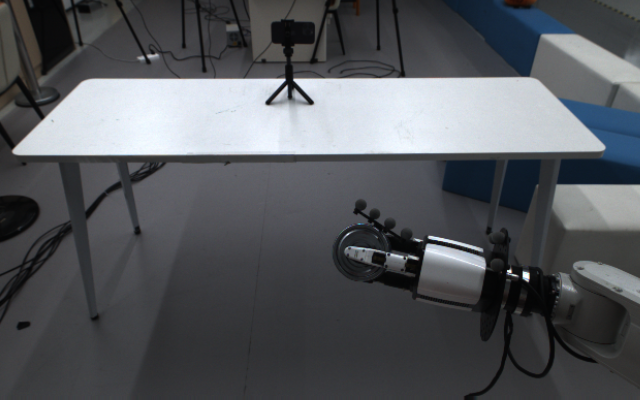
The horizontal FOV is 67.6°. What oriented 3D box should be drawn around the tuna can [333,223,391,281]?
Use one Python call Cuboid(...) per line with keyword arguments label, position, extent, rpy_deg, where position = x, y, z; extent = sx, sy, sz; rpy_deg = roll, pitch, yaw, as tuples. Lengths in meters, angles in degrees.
Cuboid(label="tuna can", position=(0.065, 0.083, 0.709), extent=(0.085, 0.085, 0.034), rpy_deg=(13, -4, 15))
